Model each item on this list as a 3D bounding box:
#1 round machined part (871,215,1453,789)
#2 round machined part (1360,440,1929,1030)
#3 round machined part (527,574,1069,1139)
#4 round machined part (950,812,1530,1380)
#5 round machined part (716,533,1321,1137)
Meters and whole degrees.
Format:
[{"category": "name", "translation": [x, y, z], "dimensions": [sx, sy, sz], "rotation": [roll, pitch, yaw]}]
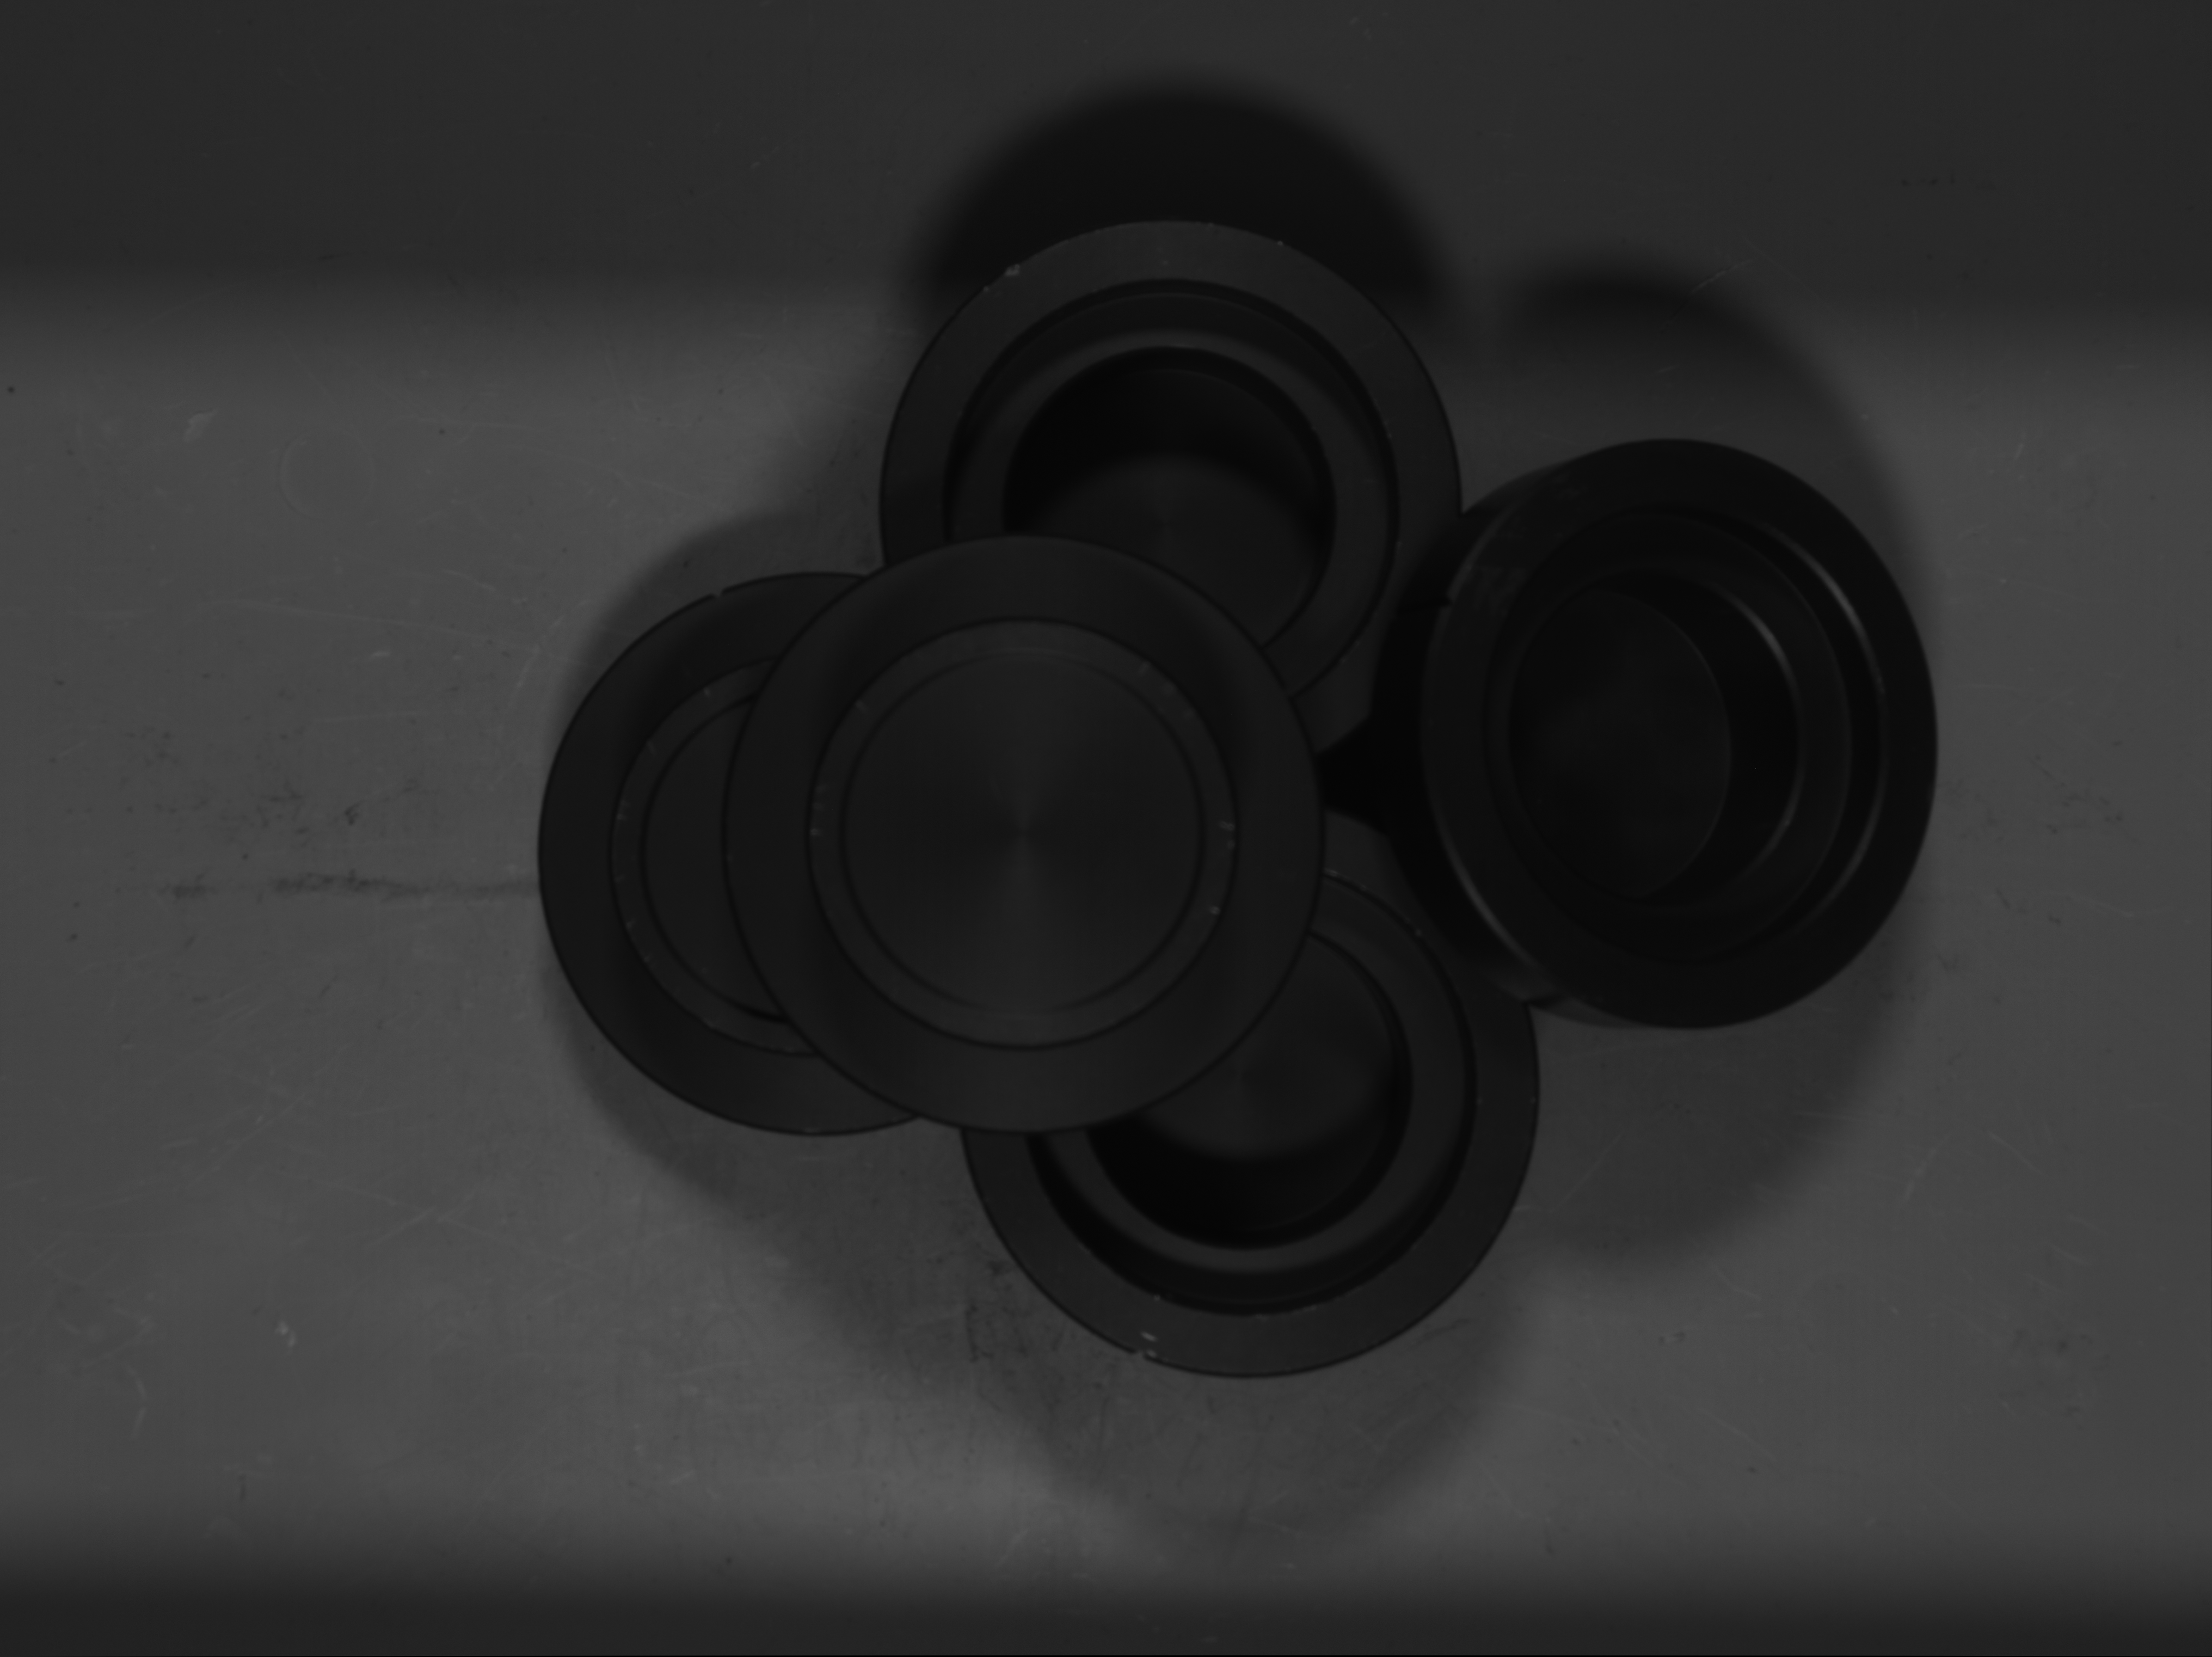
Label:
[{"category": "round machined part", "translation": [0.009, -0.054, 0.636], "dimensions": [0.098, 0.042, 0.098], "rotation": [0, 90, 0]}, {"category": "round machined part", "translation": [0.087, -0.015, 0.626], "dimensions": [0.098, 0.042, 0.098], "rotation": [1, 87, -21]}, {"category": "round machined part", "translation": [-0.051, 0.005, 0.633], "dimensions": [0.098, 0.042, 0.098], "rotation": [0, 90, 0]}, {"category": "round machined part", "translation": [0.022, 0.044, 0.635], "dimensions": [0.098, 0.042, 0.098], "rotation": [0, 90, 0]}, {"category": "round machined part", "translation": [-0.014, 0.001, 0.592], "dimensions": [0.098, 0.042, 0.098], "rotation": [0, 90, 0]}]
